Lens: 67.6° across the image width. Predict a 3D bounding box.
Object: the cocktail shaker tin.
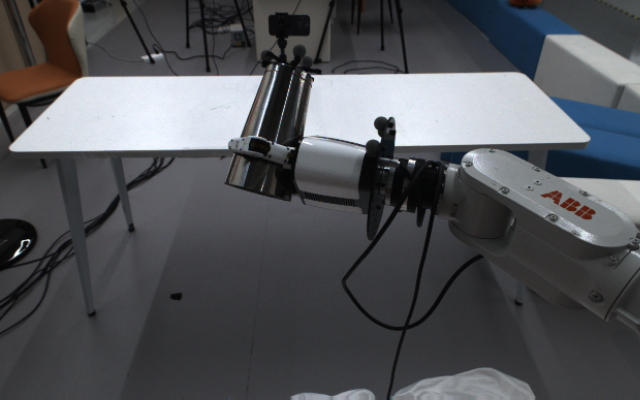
[{"bbox_3d":[-0.063,-0.092,0.655,0.093,0.170,0.093,15,-4,1],"label":"cocktail shaker tin"}]
